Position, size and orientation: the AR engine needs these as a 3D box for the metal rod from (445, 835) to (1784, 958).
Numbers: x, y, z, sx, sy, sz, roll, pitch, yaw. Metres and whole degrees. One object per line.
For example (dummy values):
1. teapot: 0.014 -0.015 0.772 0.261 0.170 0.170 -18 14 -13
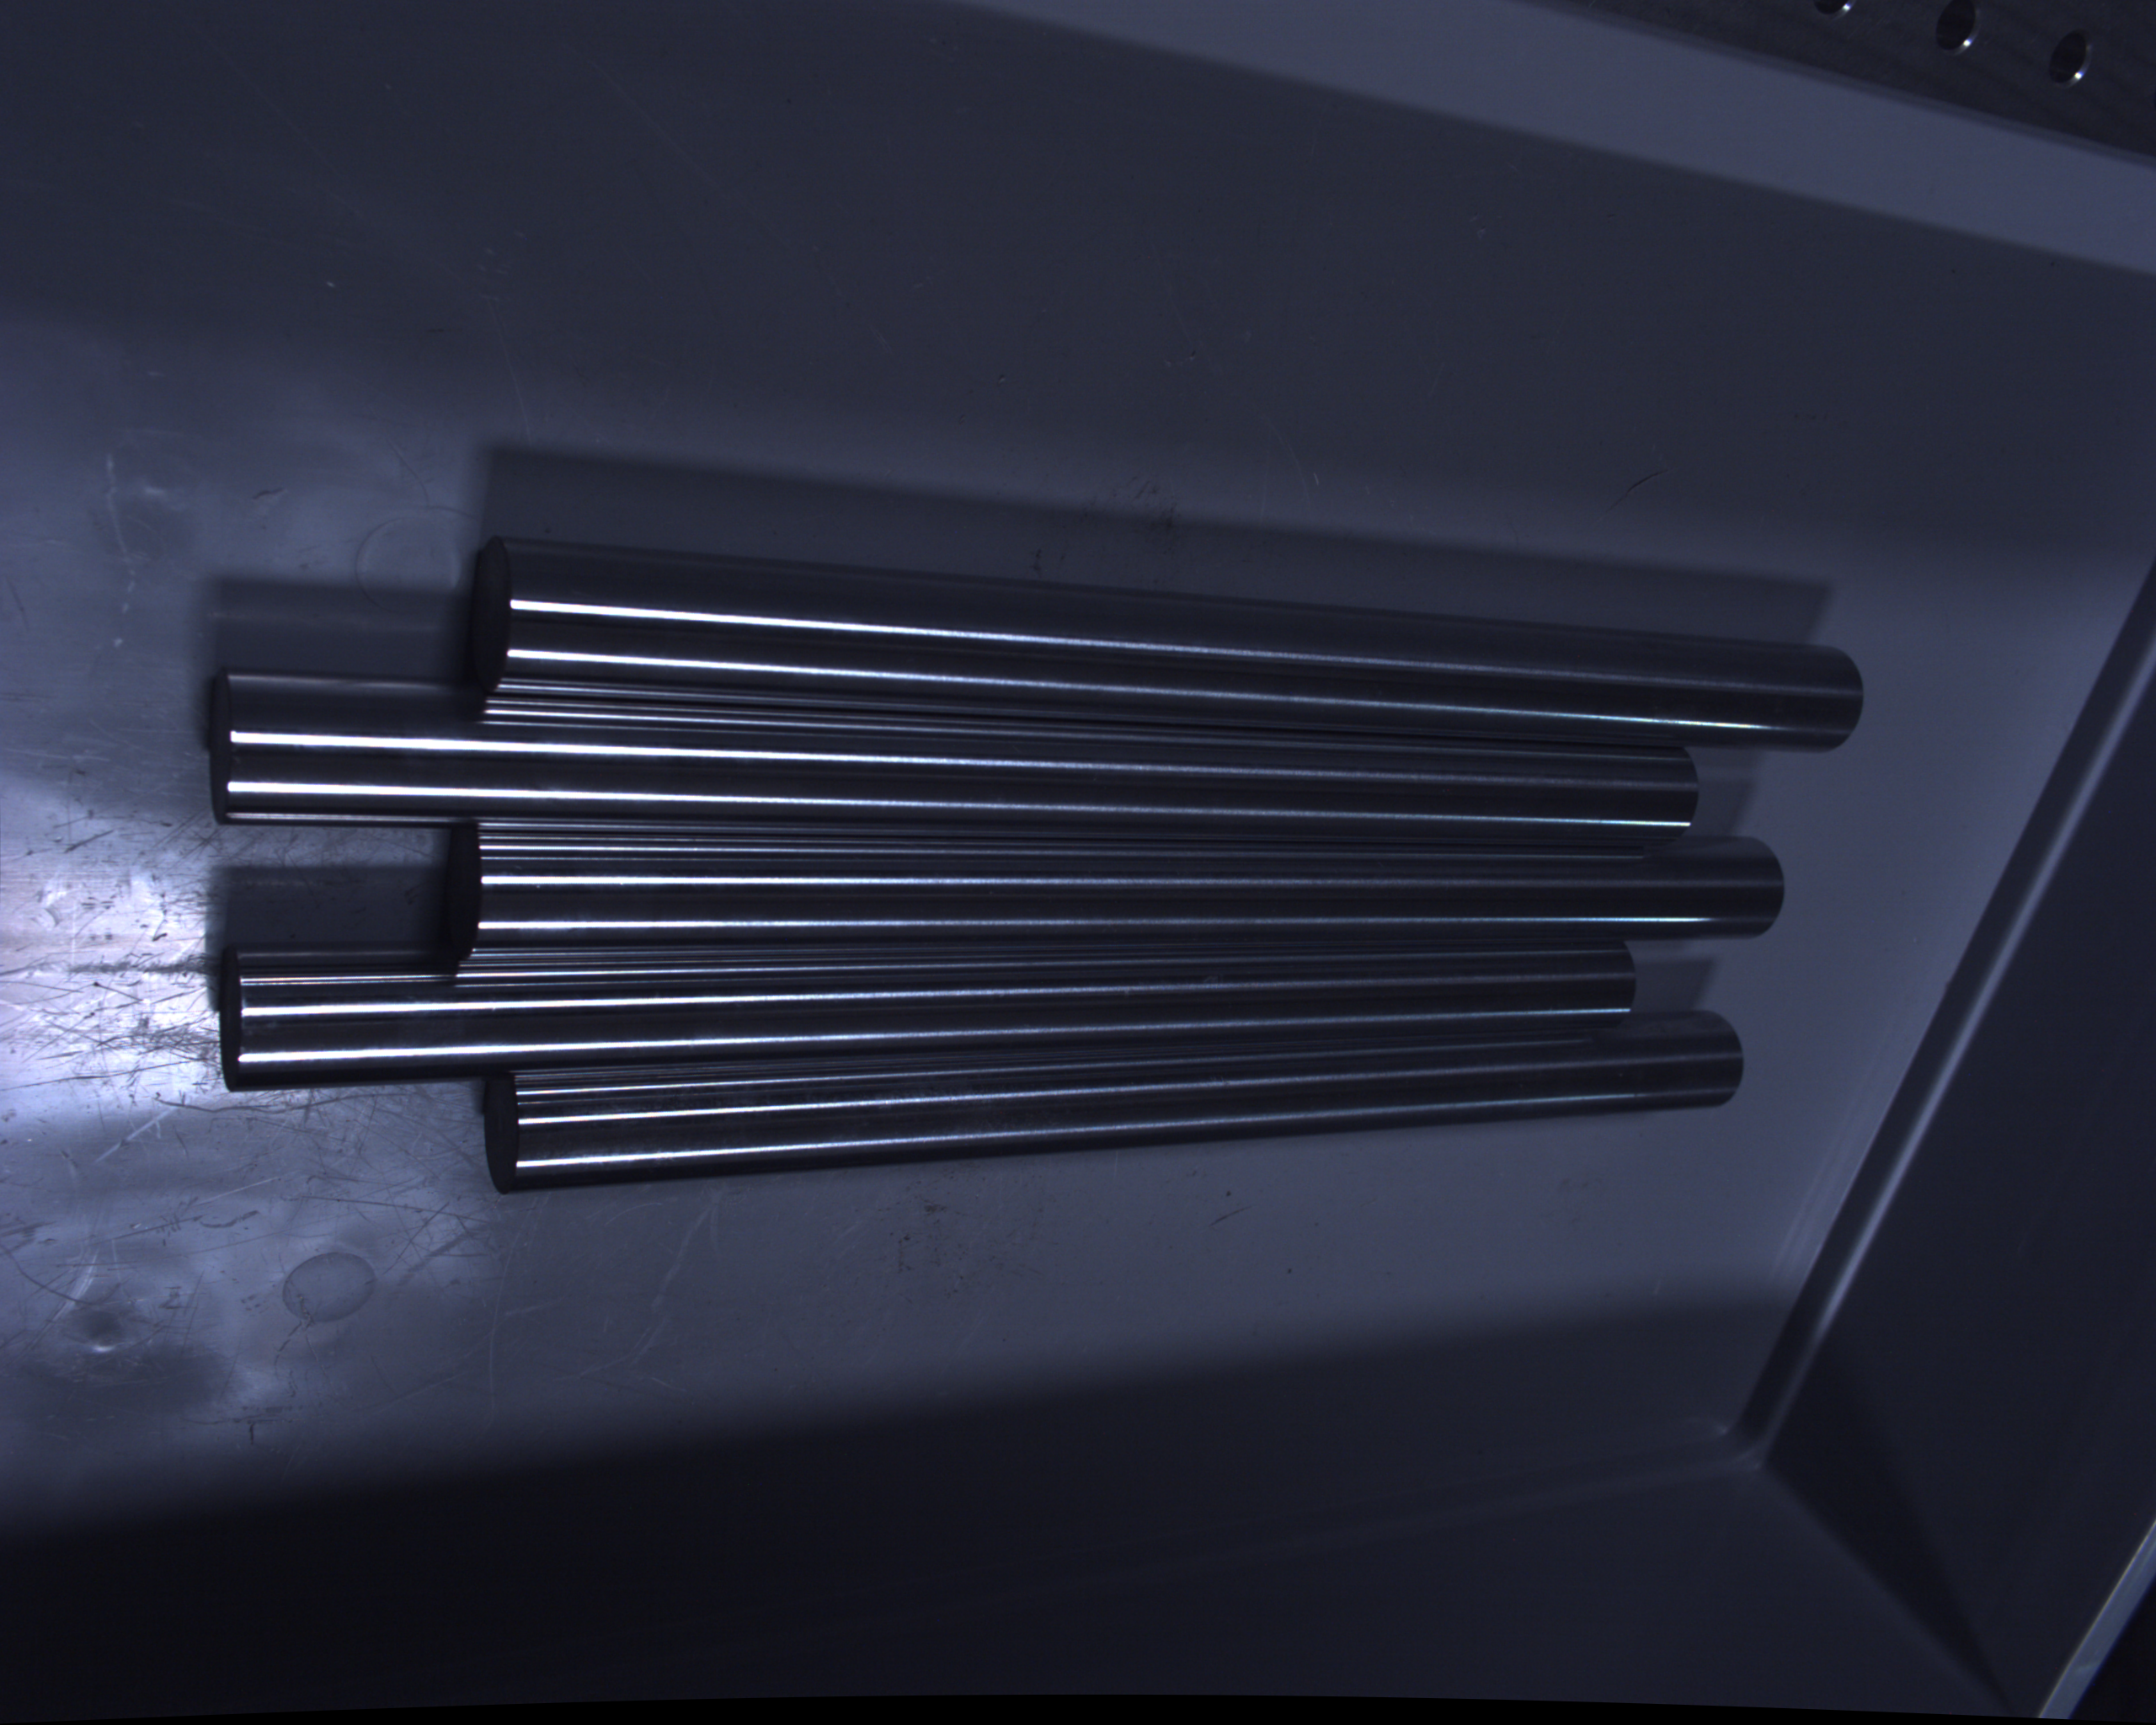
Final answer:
1. metal rod: 0.028 0.005 0.427 0.303 0.025 0.025 1 118 -29

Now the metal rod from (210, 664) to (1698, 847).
1. metal rod: -0.001 -0.017 0.397 0.303 0.025 0.025 1 118 -29

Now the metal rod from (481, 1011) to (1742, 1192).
1. metal rod: 0.026 0.049 0.453 0.303 0.025 0.025 1 118 -29

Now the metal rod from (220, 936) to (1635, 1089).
1. metal rod: -0.009 0.026 0.420 0.303 0.025 0.025 1 118 -29

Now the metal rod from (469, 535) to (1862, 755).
1. metal rod: 0.038 -0.038 0.406 0.303 0.025 0.025 1 118 -29
